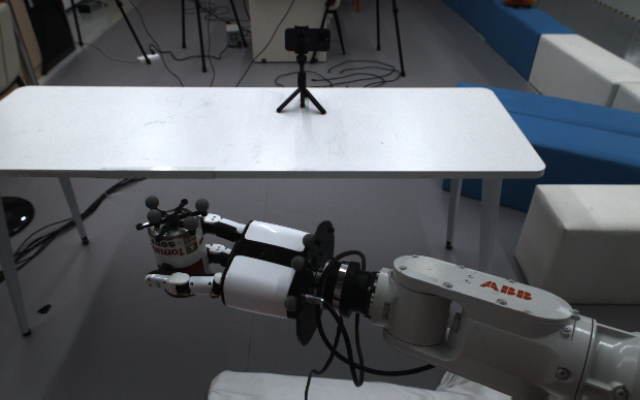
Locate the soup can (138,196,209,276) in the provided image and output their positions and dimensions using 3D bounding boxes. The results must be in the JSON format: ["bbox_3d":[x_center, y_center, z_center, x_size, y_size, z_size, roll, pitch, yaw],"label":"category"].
[{"bbox_3d":[-0.184,0.072,0.647,0.067,0.101,0.067,-2,33,1],"label":"soup can"}]
